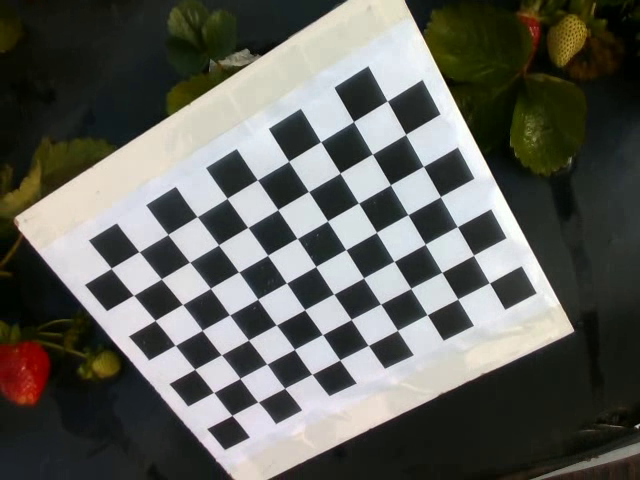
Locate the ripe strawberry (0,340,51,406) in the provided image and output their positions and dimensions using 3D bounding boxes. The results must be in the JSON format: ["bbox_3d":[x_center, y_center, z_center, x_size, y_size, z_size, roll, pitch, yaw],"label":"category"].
[{"bbox_3d":[-0.229,0.106,0.445,0.052,0.043,0.057,18,28,-38],"label":"ripe strawberry"}]
